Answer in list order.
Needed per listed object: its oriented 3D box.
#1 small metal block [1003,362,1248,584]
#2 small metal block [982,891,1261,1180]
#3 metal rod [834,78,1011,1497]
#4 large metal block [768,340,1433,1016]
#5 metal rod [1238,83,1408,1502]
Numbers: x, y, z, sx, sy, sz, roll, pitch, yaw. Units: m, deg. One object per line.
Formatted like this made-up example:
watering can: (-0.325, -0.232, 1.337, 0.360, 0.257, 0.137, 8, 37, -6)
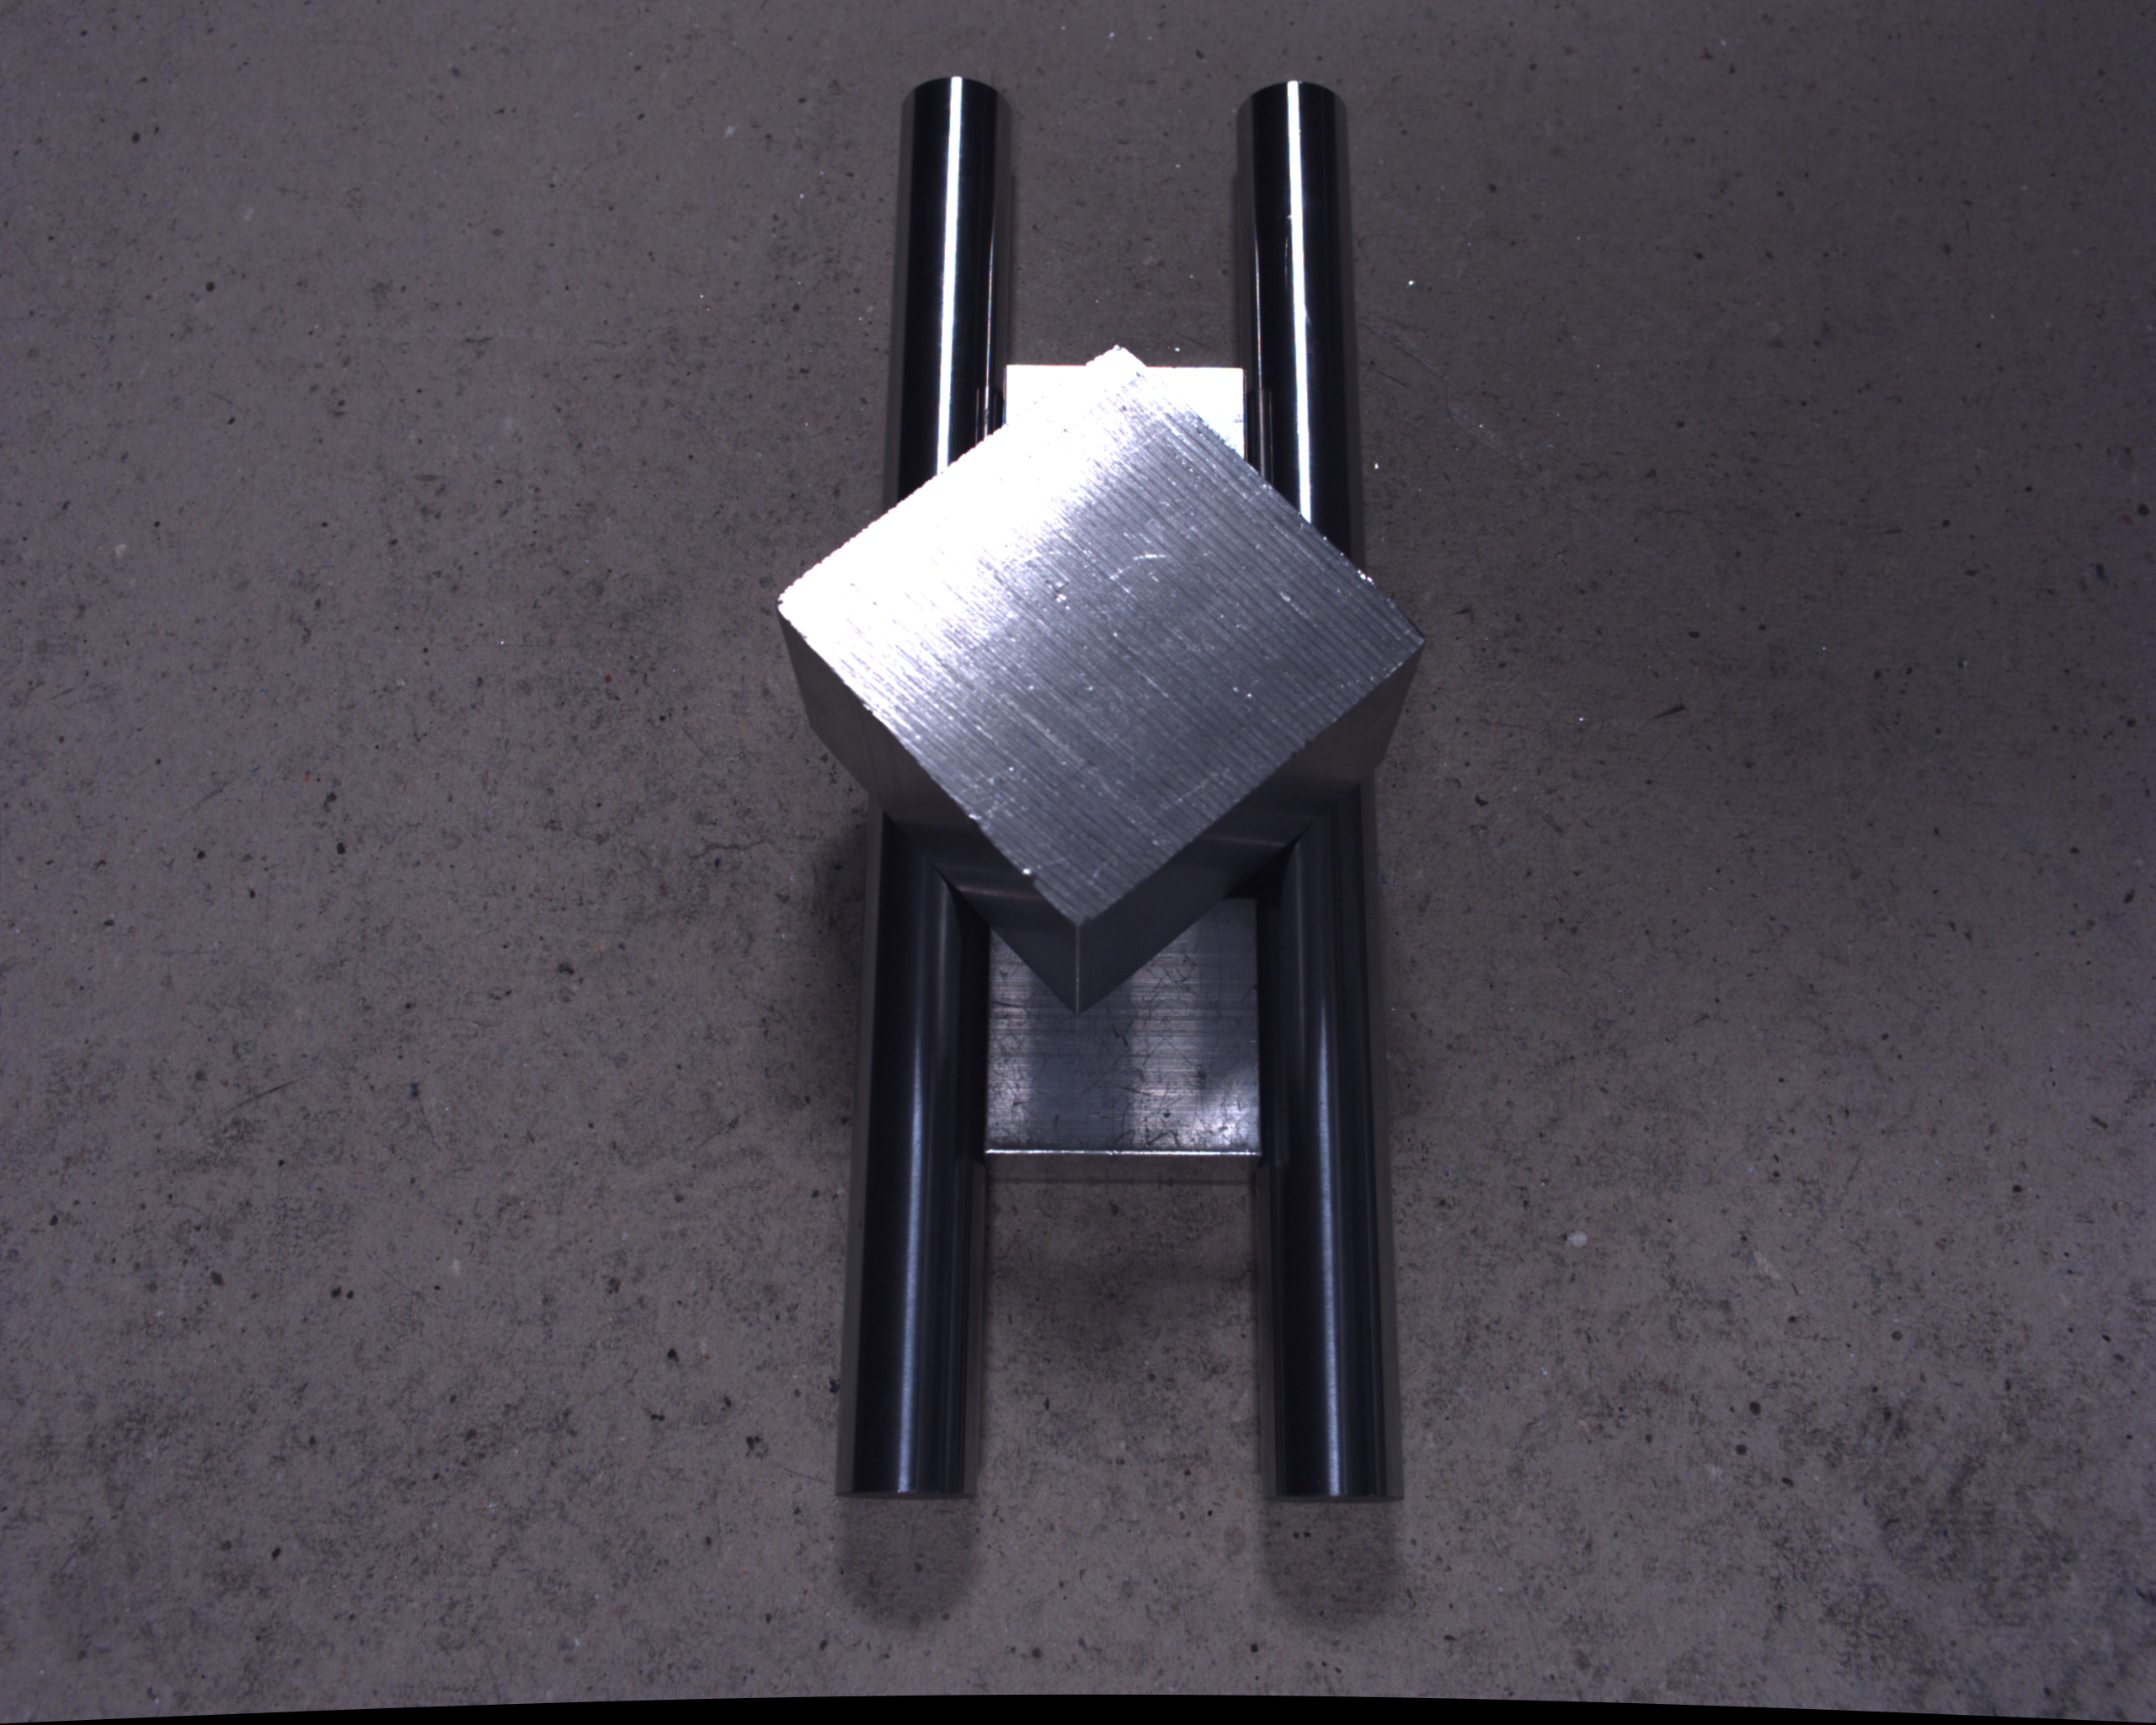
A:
small metal block: (0.009, -0.076, 0.436, 0.050, 0.025, 0.050, 1, 70, 0)
small metal block: (0.008, 0.033, 0.396, 0.050, 0.025, 0.050, 1, 70, 0)
metal rod: (-0.029, -0.028, 0.420, 0.025, 0.025, 0.299, 1, 70, 0)
large metal block: (0.004, -0.033, 0.379, 0.080, 0.050, 0.080, -39, 75, -13)
metal rod: (0.047, -0.028, 0.420, 0.025, 0.025, 0.299, 1, 70, 0)
